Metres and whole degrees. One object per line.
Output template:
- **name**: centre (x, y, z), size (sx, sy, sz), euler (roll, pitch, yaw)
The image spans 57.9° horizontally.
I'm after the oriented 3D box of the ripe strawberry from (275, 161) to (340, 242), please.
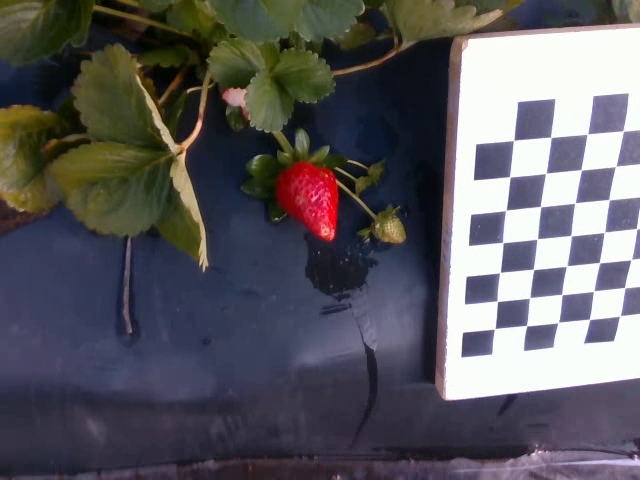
- **ripe strawberry**: centre (-0.003, -0.022, 0.373), size (0.043, 0.057, 0.052), euler (-26, -35, 11)
